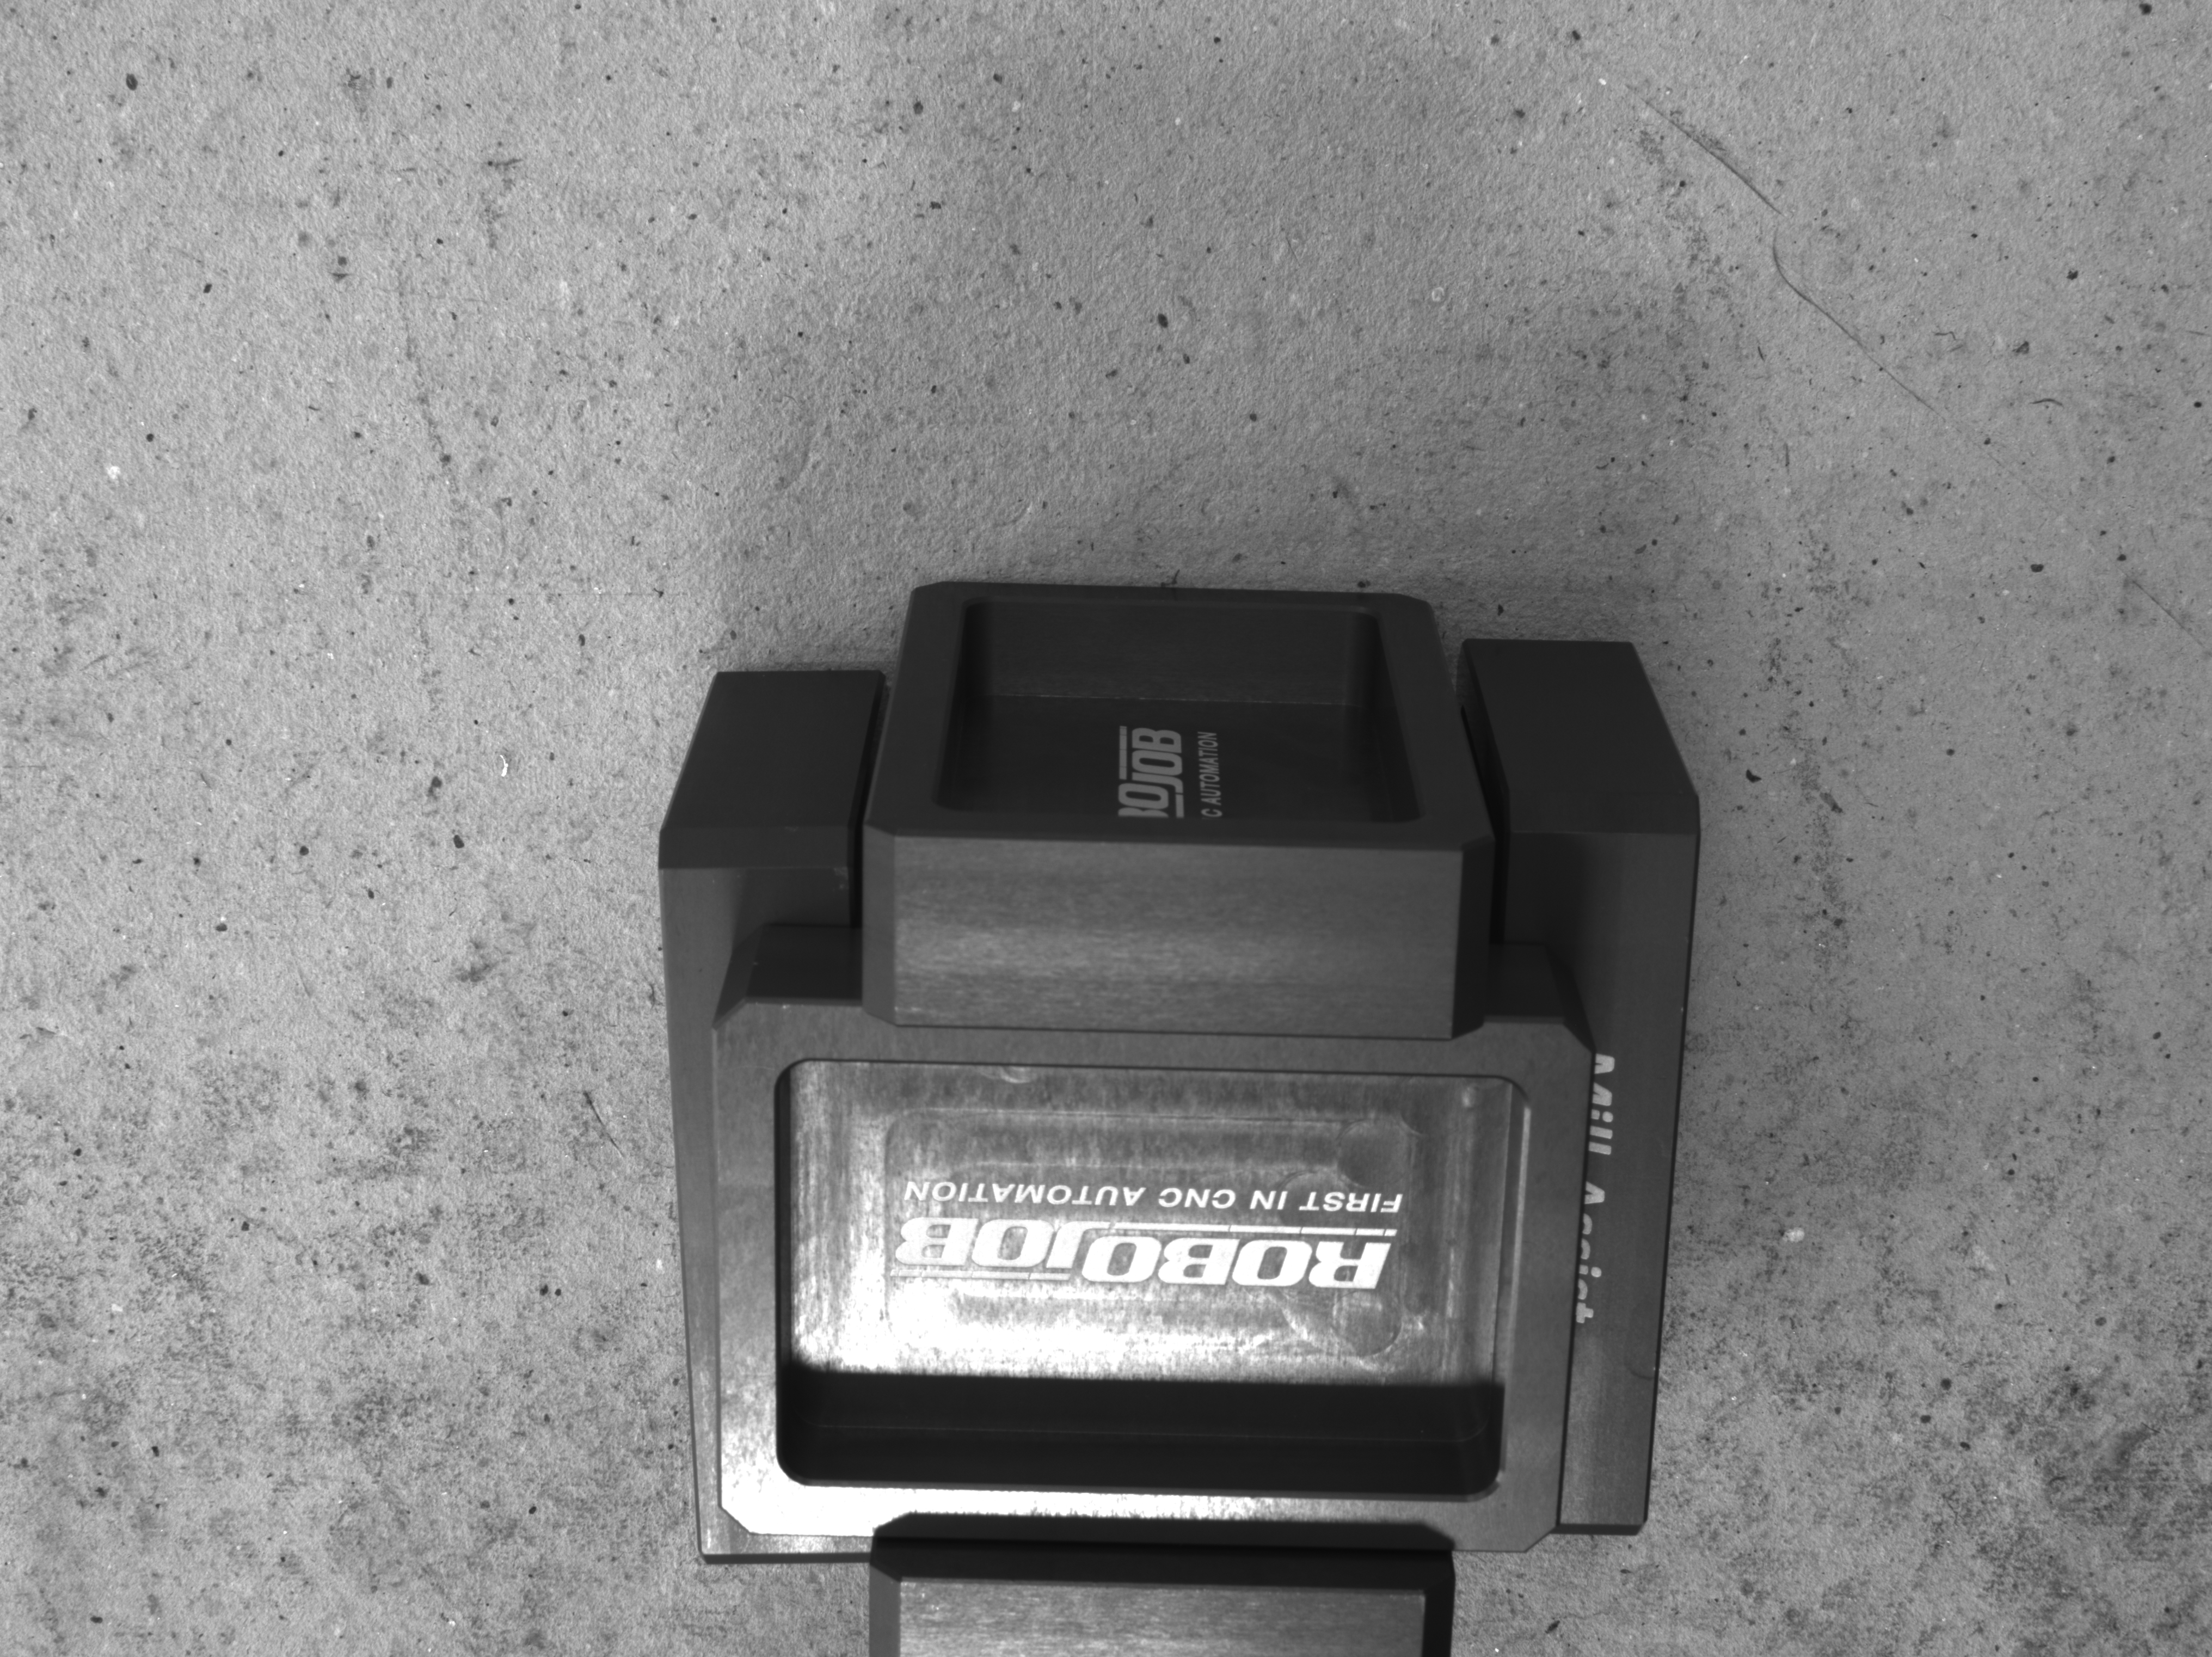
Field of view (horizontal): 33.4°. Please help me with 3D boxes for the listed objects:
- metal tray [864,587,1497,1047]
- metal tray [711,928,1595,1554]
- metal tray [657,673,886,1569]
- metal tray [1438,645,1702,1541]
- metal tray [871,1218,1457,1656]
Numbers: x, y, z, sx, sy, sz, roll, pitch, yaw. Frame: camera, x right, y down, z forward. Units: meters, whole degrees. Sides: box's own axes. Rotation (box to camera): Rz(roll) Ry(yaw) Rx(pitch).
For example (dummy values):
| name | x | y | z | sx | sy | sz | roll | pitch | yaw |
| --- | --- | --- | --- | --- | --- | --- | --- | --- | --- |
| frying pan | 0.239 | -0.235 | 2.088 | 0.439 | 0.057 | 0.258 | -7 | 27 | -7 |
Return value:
| name | x | y | z | sx | sy | sz | roll | pitch | yaw |
| --- | --- | --- | --- | --- | --- | --- | --- | --- | --- |
| metal tray | 0.010 | -0.005 | 0.585 | 0.090 | 0.130 | 0.030 | 2 | 110 | -1 |
| metal tray | 0.006 | 0.064 | 0.569 | 0.130 | 0.030 | 0.090 | 1 | 110 | 0 |
| metal tray | -0.053 | 0.048 | 0.626 | 0.030 | 0.090 | 0.130 | -1 | 110 | 0 |
| metal tray | 0.075 | 0.043 | 0.625 | 0.030 | 0.090 | 0.130 | 2 | 109 | 0 |
| metal tray | 0.009 | 0.107 | 0.627 | 0.090 | 0.130 | 0.030 | 1 | 111 | 0 |
